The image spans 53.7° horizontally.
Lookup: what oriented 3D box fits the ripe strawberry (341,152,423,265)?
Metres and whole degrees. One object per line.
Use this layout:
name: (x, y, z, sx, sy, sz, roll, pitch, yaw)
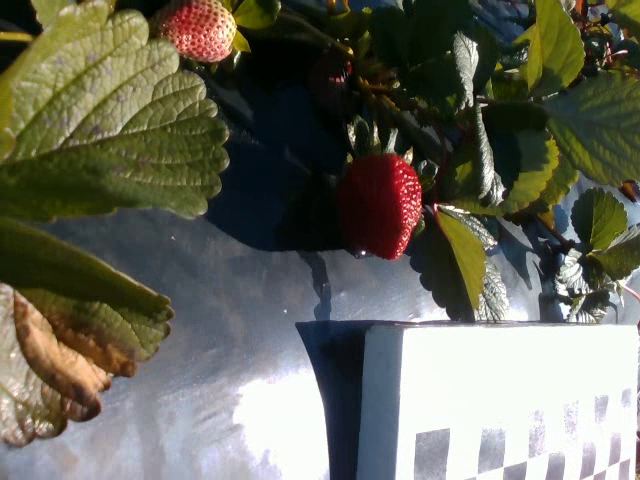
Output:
ripe strawberry: (0.024, -0.012, 0.263, 0.058, 0.066, 0.061, -35, 32, -8)
